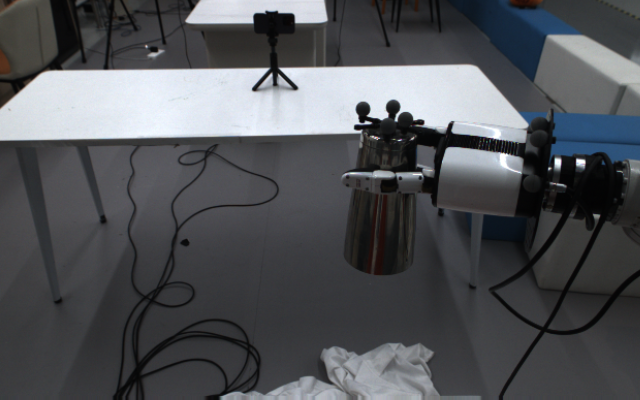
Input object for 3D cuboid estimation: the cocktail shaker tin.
[{"bbox_3d":[0.082,-0.006,0.603,0.093,0.170,0.093,1,27,-1],"label":"cocktail shaker tin"}]
